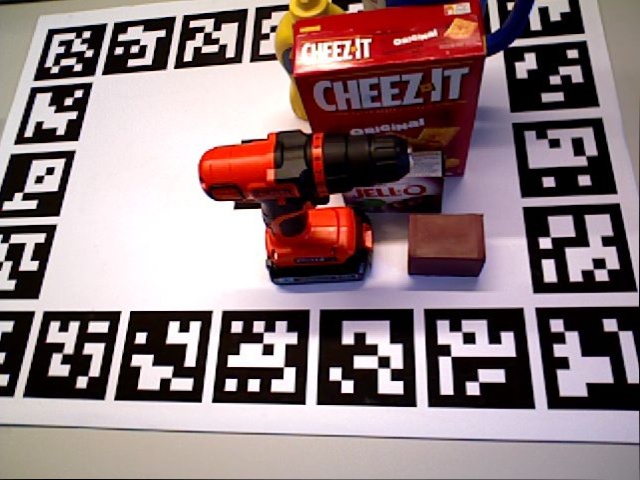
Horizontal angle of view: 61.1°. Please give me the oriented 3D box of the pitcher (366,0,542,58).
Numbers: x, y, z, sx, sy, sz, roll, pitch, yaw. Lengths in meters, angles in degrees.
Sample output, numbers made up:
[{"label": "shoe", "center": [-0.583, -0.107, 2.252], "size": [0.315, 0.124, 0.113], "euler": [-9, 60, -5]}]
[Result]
[{"label": "pitcher", "center": [0.125, -0.226, 0.566], "size": [0.189, 0.245, 0.132], "euler": [4, 68, 13]}]

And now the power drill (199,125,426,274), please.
[{"label": "power drill", "center": [0.001, -0.032, 0.499], "size": [0.184, 0.189, 0.056], "euler": [-2, 63, 8]}]

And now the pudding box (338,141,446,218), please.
[{"label": "pudding box", "center": [0.074, -0.062, 0.574], "size": [0.114, 0.091, 0.038], "euler": [-1, 65, 12]}]

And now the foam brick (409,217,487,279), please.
[{"label": "foam brick", "center": [0.133, 0.009, 0.571], "size": [0.078, 0.052, 0.052], "euler": [1, 69, 10]}]

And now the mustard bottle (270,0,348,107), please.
[{"label": "mustard bottle", "center": [-0.004, -0.218, 0.598], "size": [0.096, 0.193, 0.058], "euler": [12, 70, 14]}]

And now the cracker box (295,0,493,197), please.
[{"label": "cracker box", "center": [0.076, -0.128, 0.541], "size": [0.164, 0.216, 0.071], "euler": [-4, 64, 10]}]
